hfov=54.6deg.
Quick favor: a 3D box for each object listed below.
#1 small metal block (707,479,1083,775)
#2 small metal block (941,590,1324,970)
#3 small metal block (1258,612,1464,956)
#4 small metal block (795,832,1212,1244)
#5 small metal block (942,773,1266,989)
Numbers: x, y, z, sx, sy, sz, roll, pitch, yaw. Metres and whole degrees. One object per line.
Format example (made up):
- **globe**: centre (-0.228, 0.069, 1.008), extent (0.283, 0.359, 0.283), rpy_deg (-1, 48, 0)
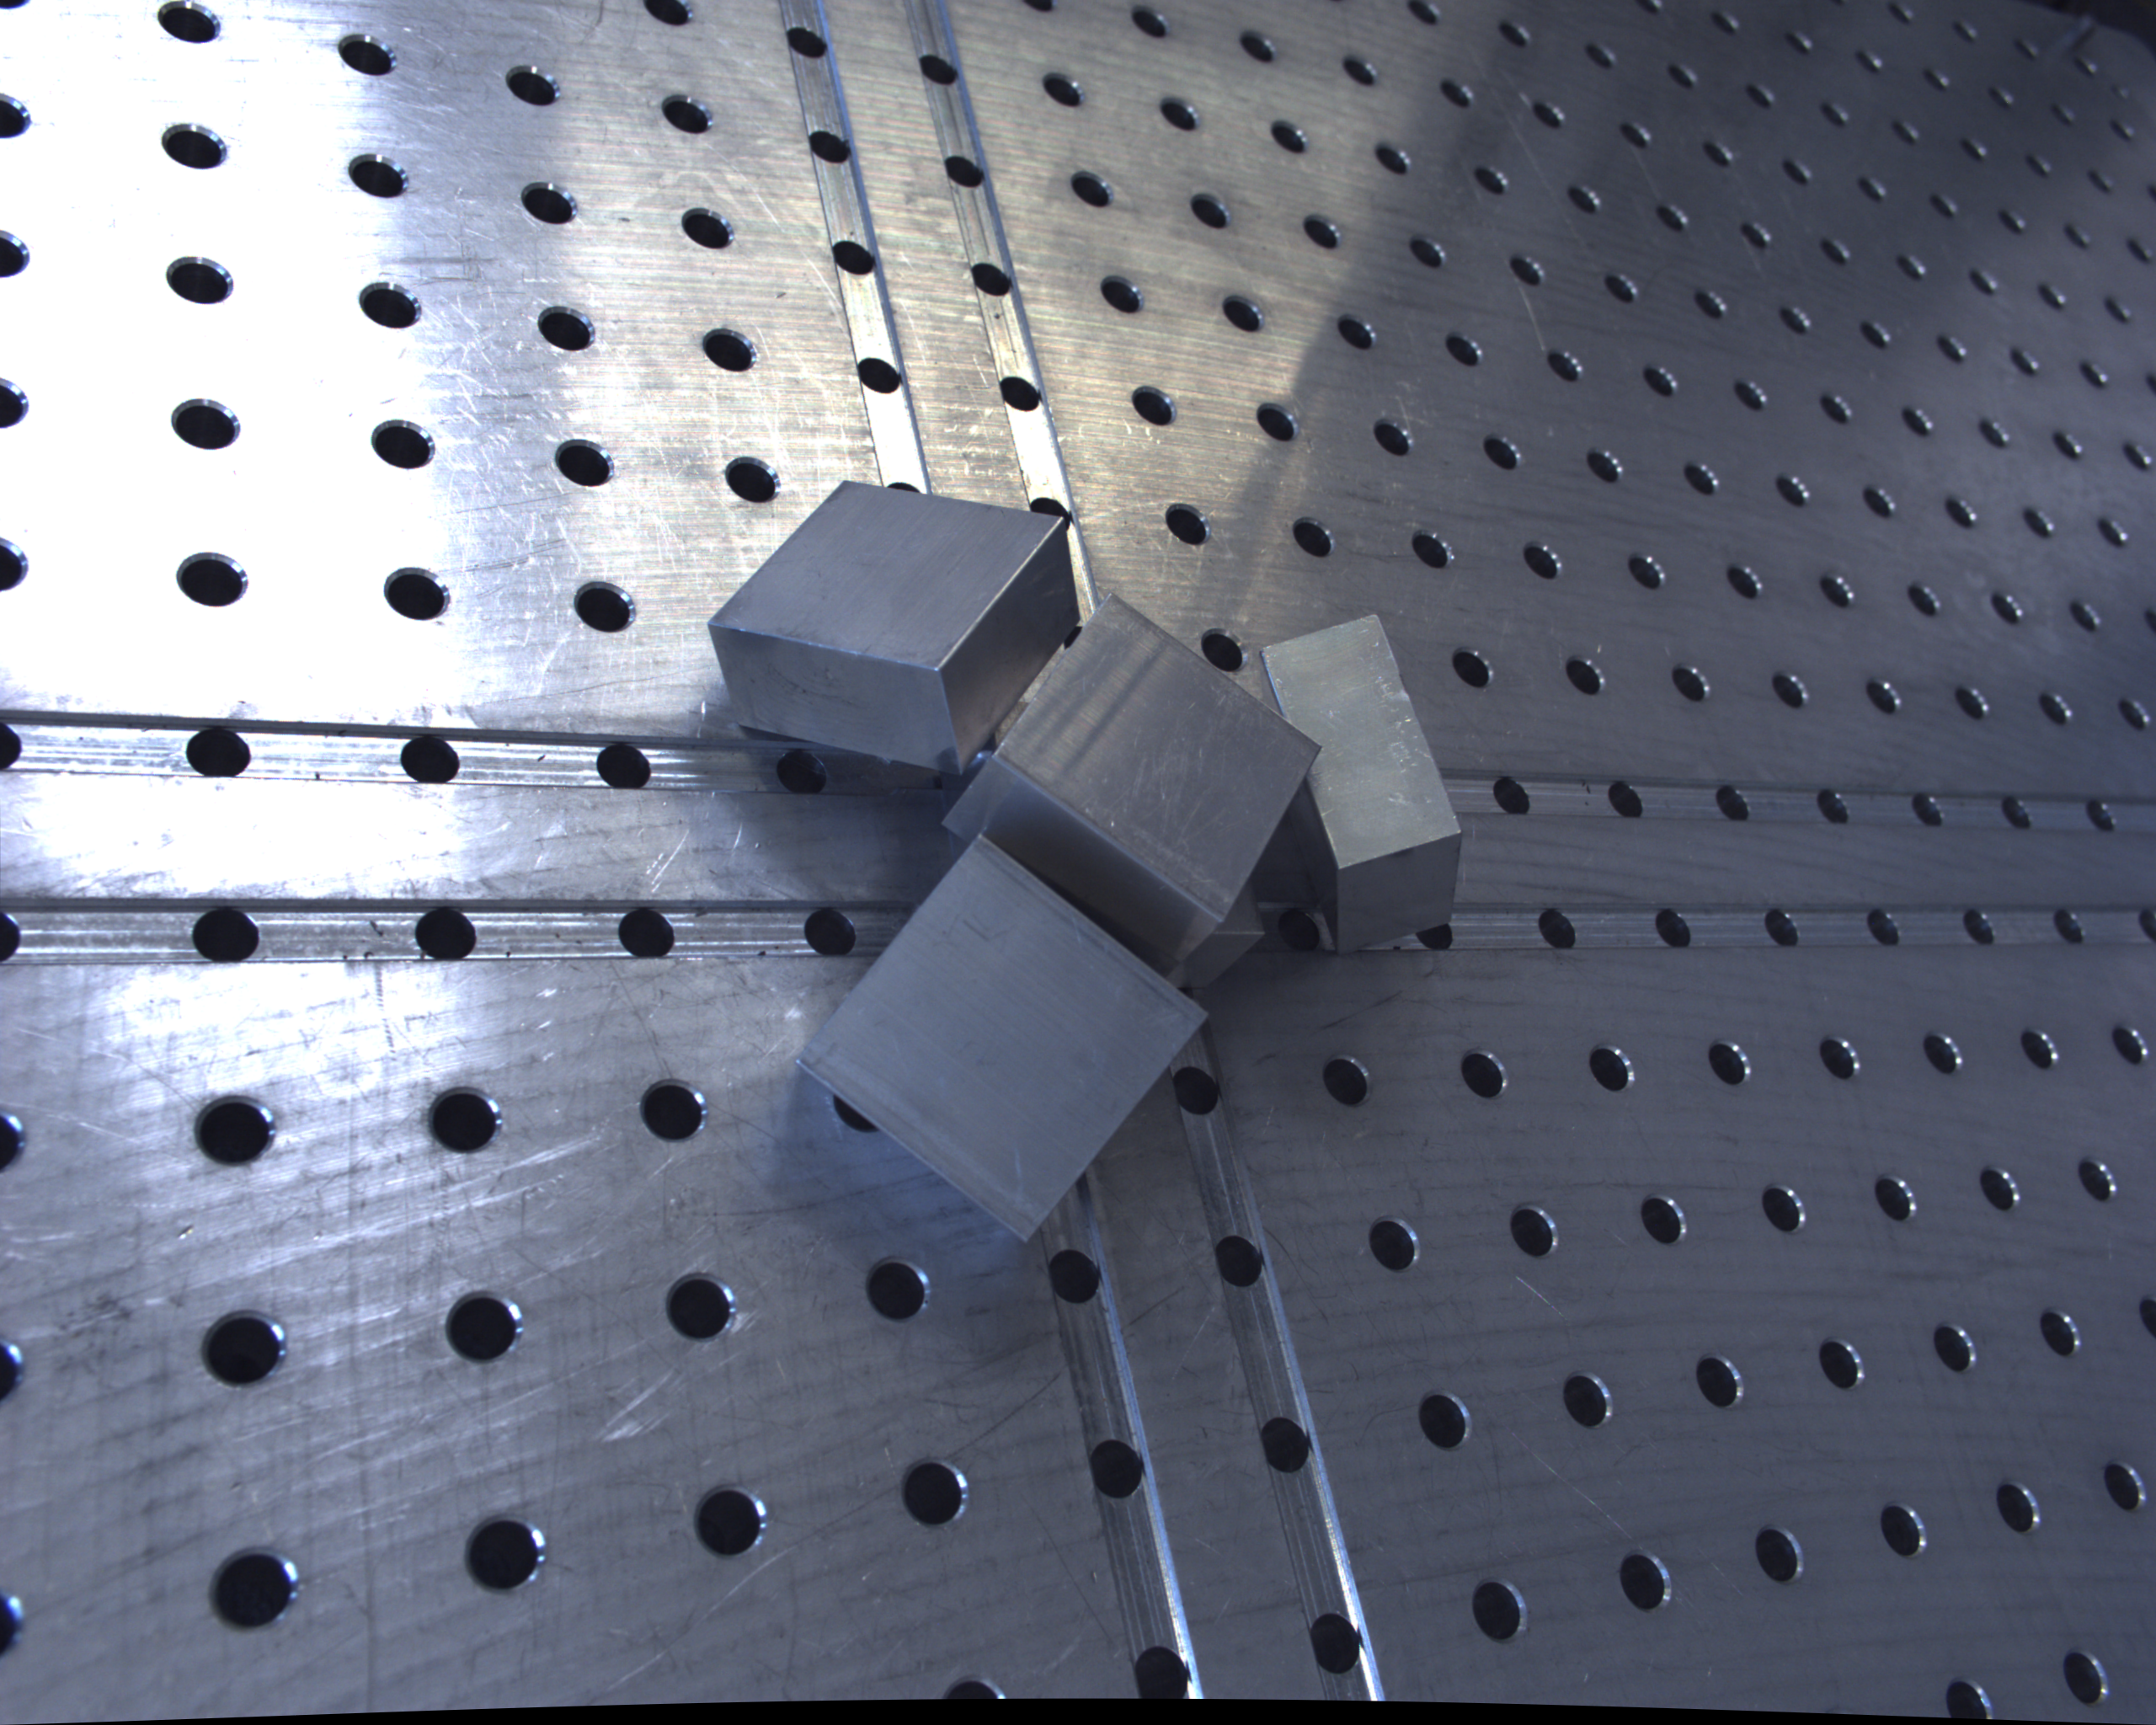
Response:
- **small metal block**: centre (-0.034, -0.047, 0.402), extent (0.050, 0.025, 0.050), rpy_deg (14, 47, 24)
- **small metal block**: centre (0.011, -0.015, 0.390), extent (0.050, 0.025, 0.050), rpy_deg (36, 51, -5)
- **small metal block**: centre (0.058, -0.015, 0.428), extent (0.025, 0.050, 0.050), rpy_deg (-17, 67, 0)
- **small metal block**: centre (-0.013, 0.030, 0.366), extent (0.050, 0.025, 0.050), rpy_deg (38, 88, -2)
- **small metal block**: centre (0.004, -0.003, 0.412), extent (0.050, 0.025, 0.050), rpy_deg (1, 64, -27)
